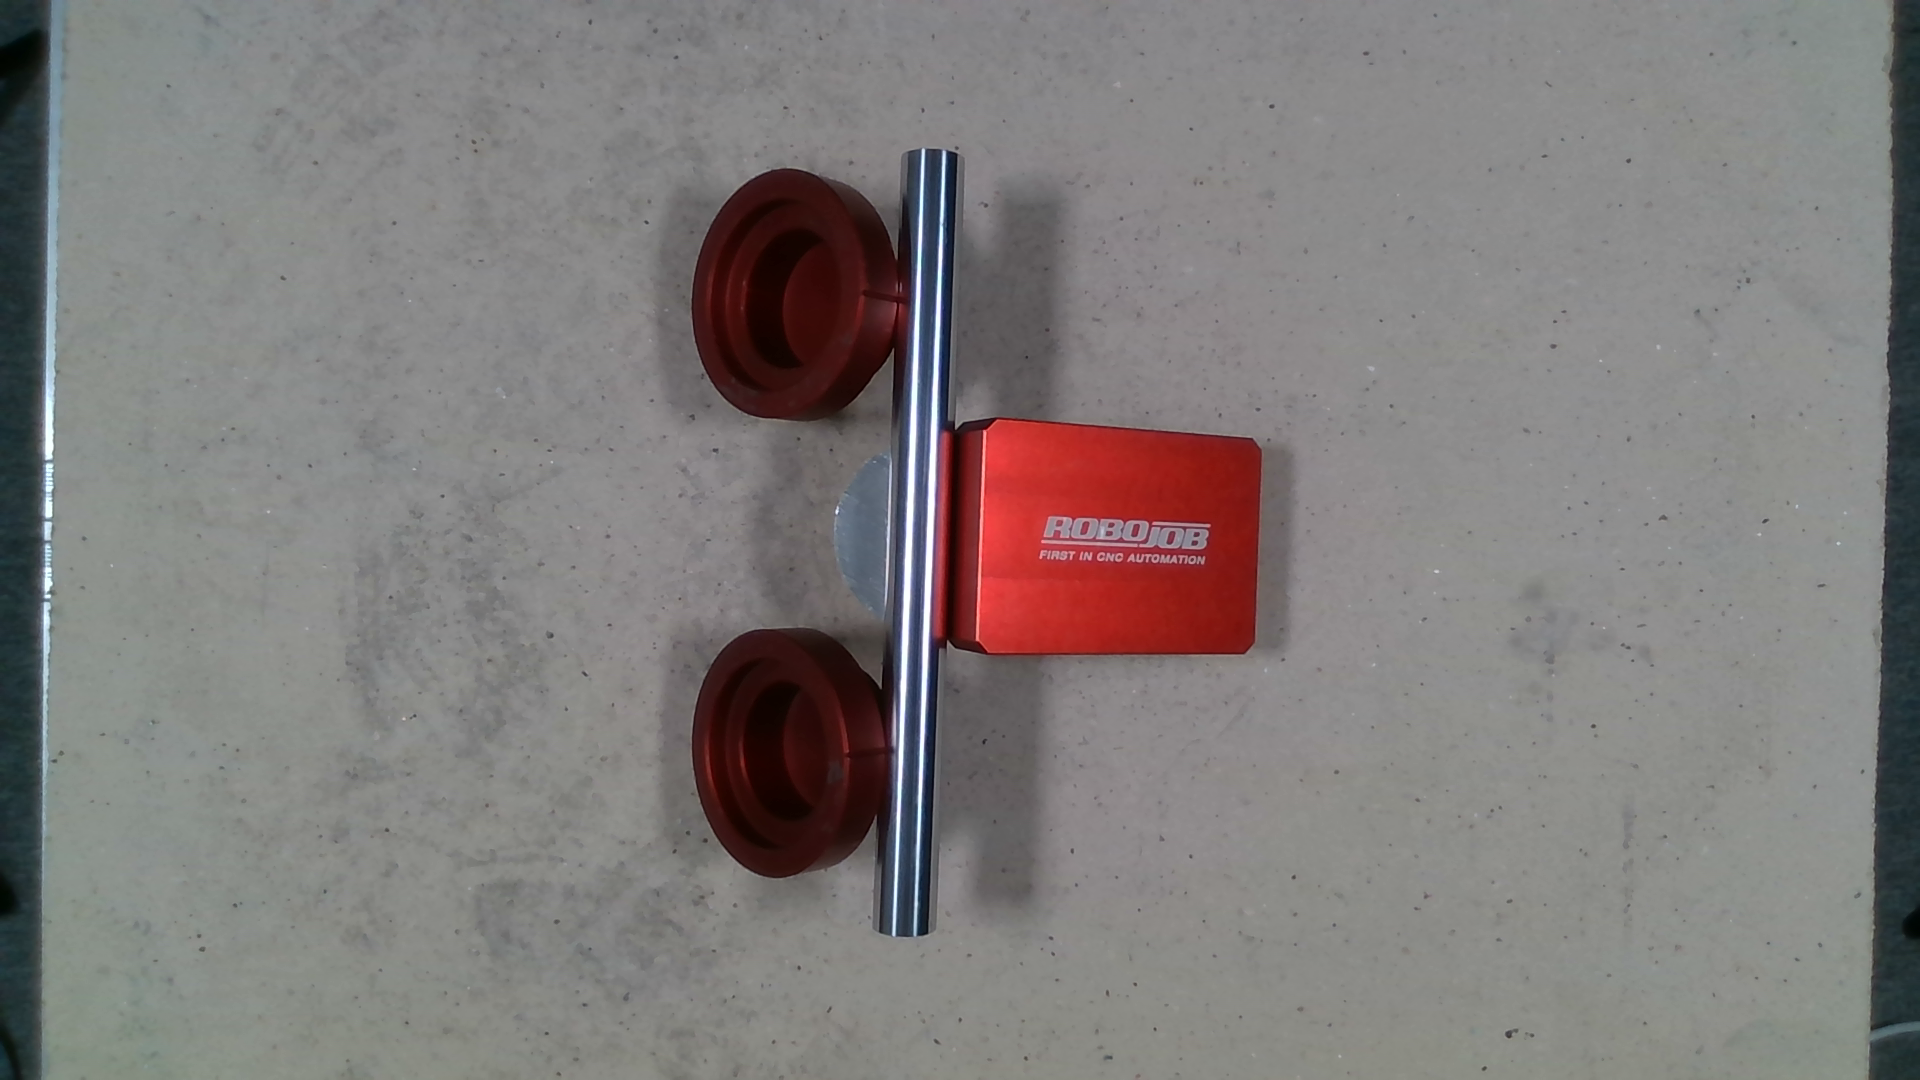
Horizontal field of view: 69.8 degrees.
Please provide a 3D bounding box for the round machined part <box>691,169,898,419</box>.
[{"bbox_3d":[-0.062,-0.098,0.562,0.098,0.042,0.098,1,91,38],"label":"round machined part"}]

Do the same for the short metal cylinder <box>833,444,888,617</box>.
[{"bbox_3d":[-0.011,-0.003,0.575,0.080,0.050,0.080,0,90,0],"label":"short metal cylinder"}]

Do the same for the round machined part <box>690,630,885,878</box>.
[{"bbox_3d":[-0.064,0.085,0.562,0.098,0.042,0.098,0,90,43],"label":"round machined part"}]

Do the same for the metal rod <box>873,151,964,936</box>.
[{"bbox_3d":[-0.016,0.002,0.538,0.025,0.025,0.300,2,91,0],"label":"metal rod"}]

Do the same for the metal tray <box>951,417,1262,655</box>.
[{"bbox_3d":[0.060,0.000,0.558,0.130,0.030,0.090,2,91,-26],"label":"metal tray"}]
